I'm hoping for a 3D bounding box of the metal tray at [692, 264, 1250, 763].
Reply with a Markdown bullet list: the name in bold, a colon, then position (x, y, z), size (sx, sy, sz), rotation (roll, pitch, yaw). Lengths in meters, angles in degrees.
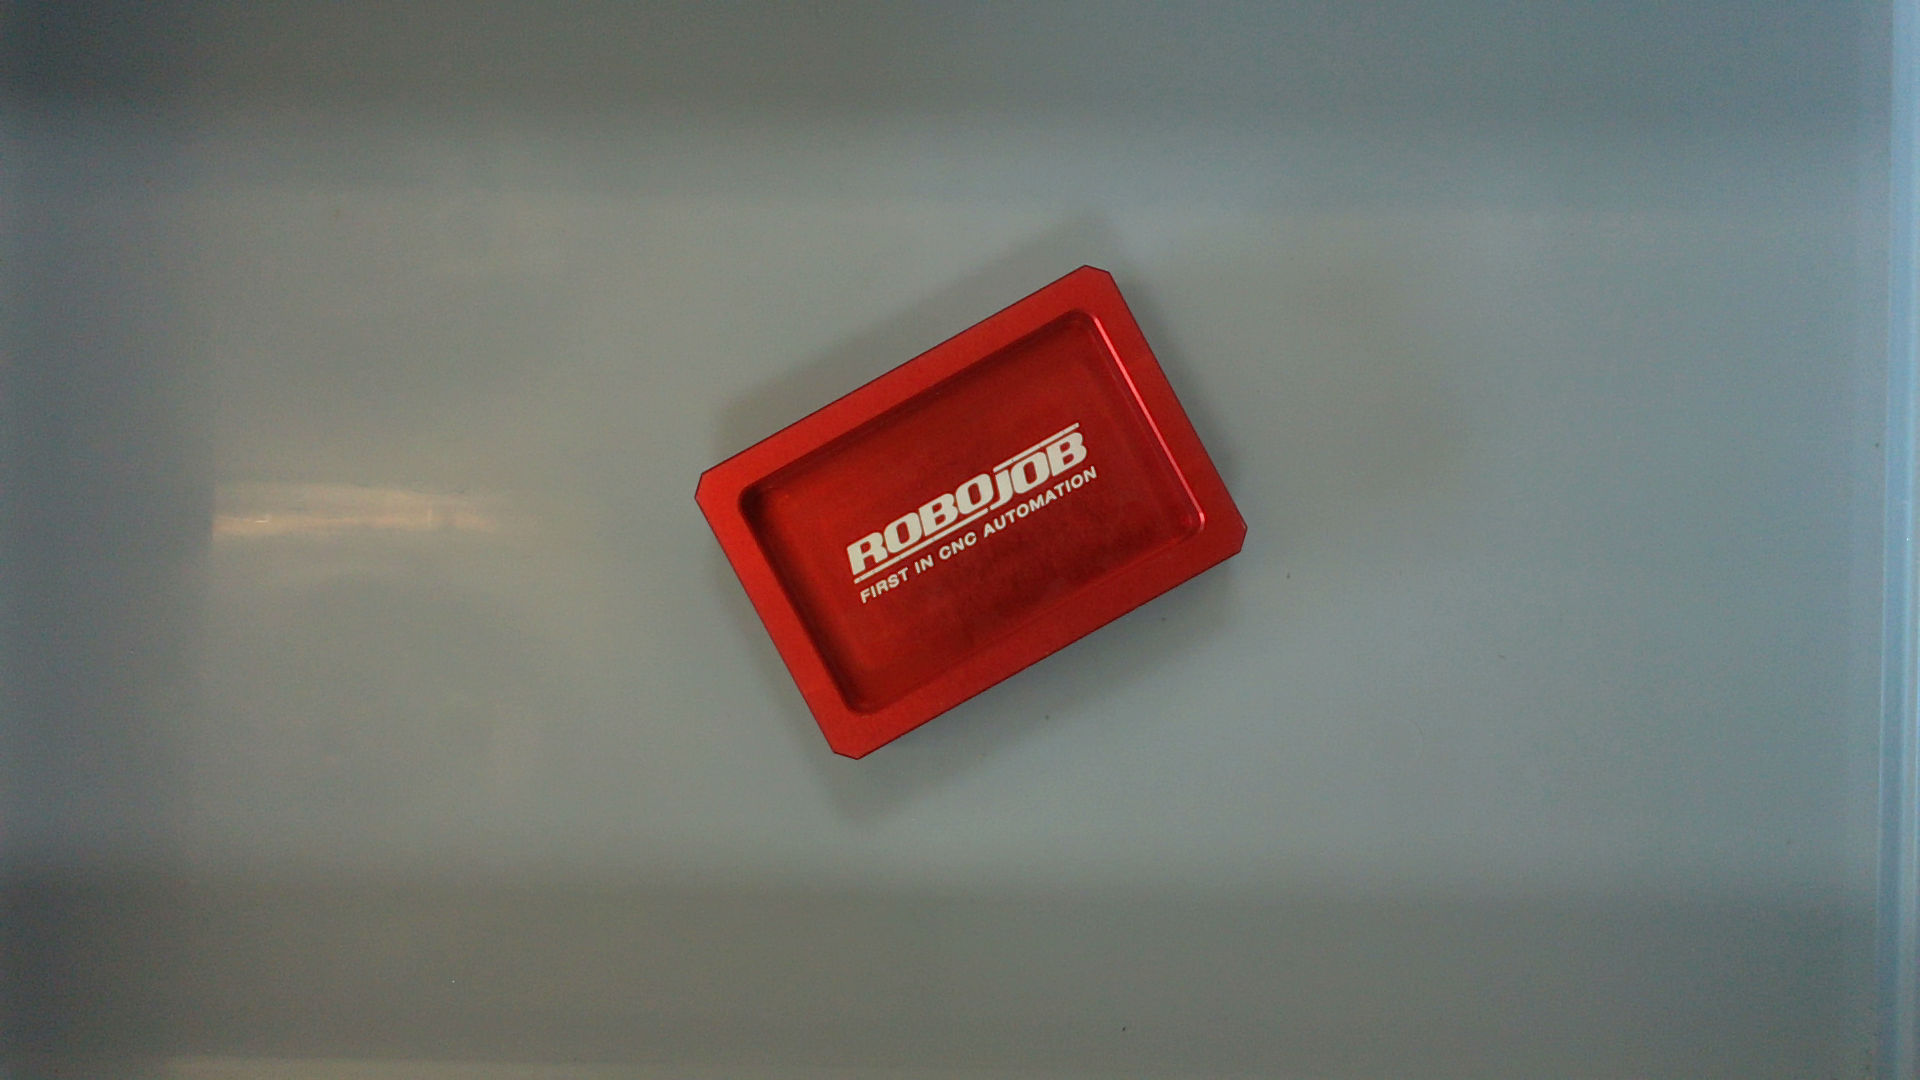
- **metal tray**: position (0.003, -0.007, 0.390), size (0.130, 0.030, 0.090), rotation (-29, 91, 0)
